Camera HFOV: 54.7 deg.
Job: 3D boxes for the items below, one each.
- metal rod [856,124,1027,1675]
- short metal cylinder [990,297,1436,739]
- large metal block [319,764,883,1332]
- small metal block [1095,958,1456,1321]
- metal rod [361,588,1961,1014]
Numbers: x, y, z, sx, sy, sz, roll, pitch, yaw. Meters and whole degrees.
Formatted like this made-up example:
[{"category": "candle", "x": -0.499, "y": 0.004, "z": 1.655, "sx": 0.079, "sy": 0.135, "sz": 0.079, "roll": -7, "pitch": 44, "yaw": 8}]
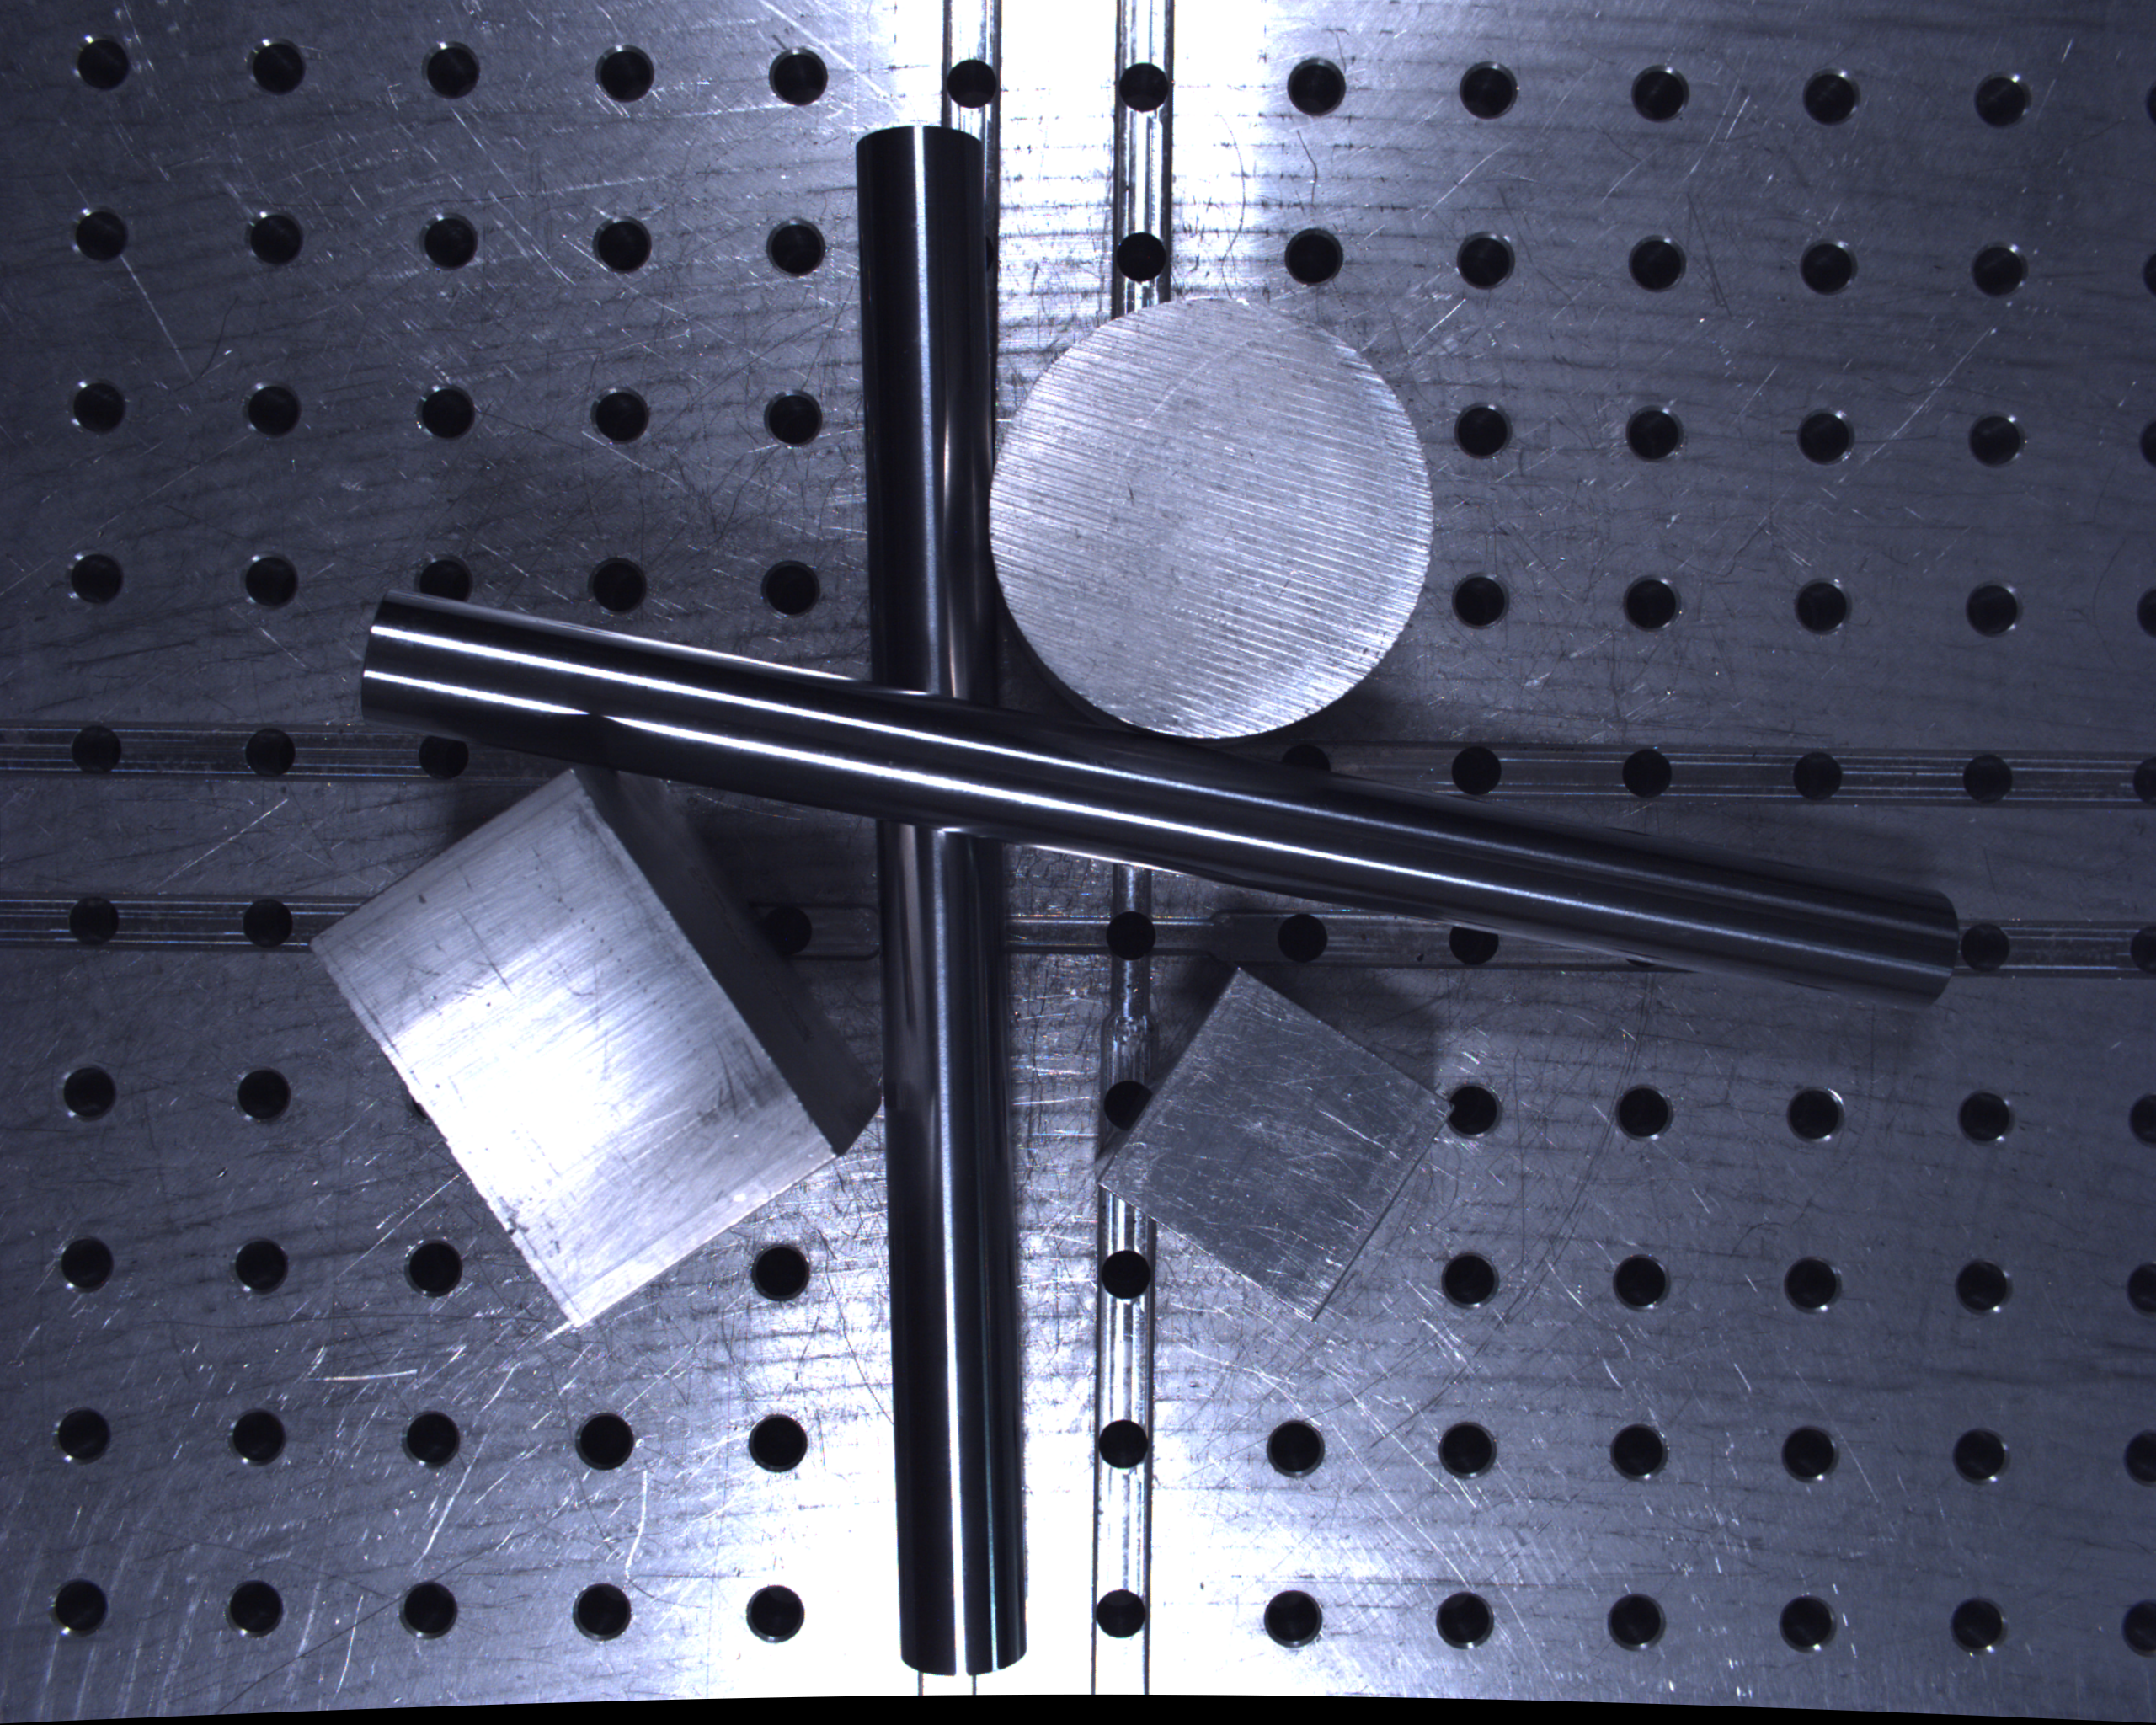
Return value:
[{"category": "metal rod", "x": -0.027, "y": 0.007, "z": 0.413, "sx": 0.025, "sy": 0.025, "sz": 0.298, "roll": -2, "pitch": 90, "yaw": -1}, {"category": "short metal cylinder", "x": 0.024, "y": -0.062, "z": 0.401, "sx": 0.081, "sy": 0.050, "sz": 0.079, "roll": 0, "pitch": 90, "yaw": -1}, {"category": "large metal block", "x": -0.082, "y": 0.030, "z": 0.384, "sx": 0.050, "sy": 0.080, "sz": 0.080, "roll": -35, "pitch": 90, "yaw": 0}, {"category": "small metal block", "x": 0.038, "y": 0.054, "z": 0.415, "sx": 0.050, "sy": 0.025, "sz": 0.050, "roll": 33, "pitch": 90, "yaw": -1}, {"category": "metal rod", "x": 0.022, "y": -0.009, "z": 0.395, "sx": 0.302, "sy": 0.025, "sz": 0.025, "roll": 11, "pitch": 90, "yaw": -8}]
